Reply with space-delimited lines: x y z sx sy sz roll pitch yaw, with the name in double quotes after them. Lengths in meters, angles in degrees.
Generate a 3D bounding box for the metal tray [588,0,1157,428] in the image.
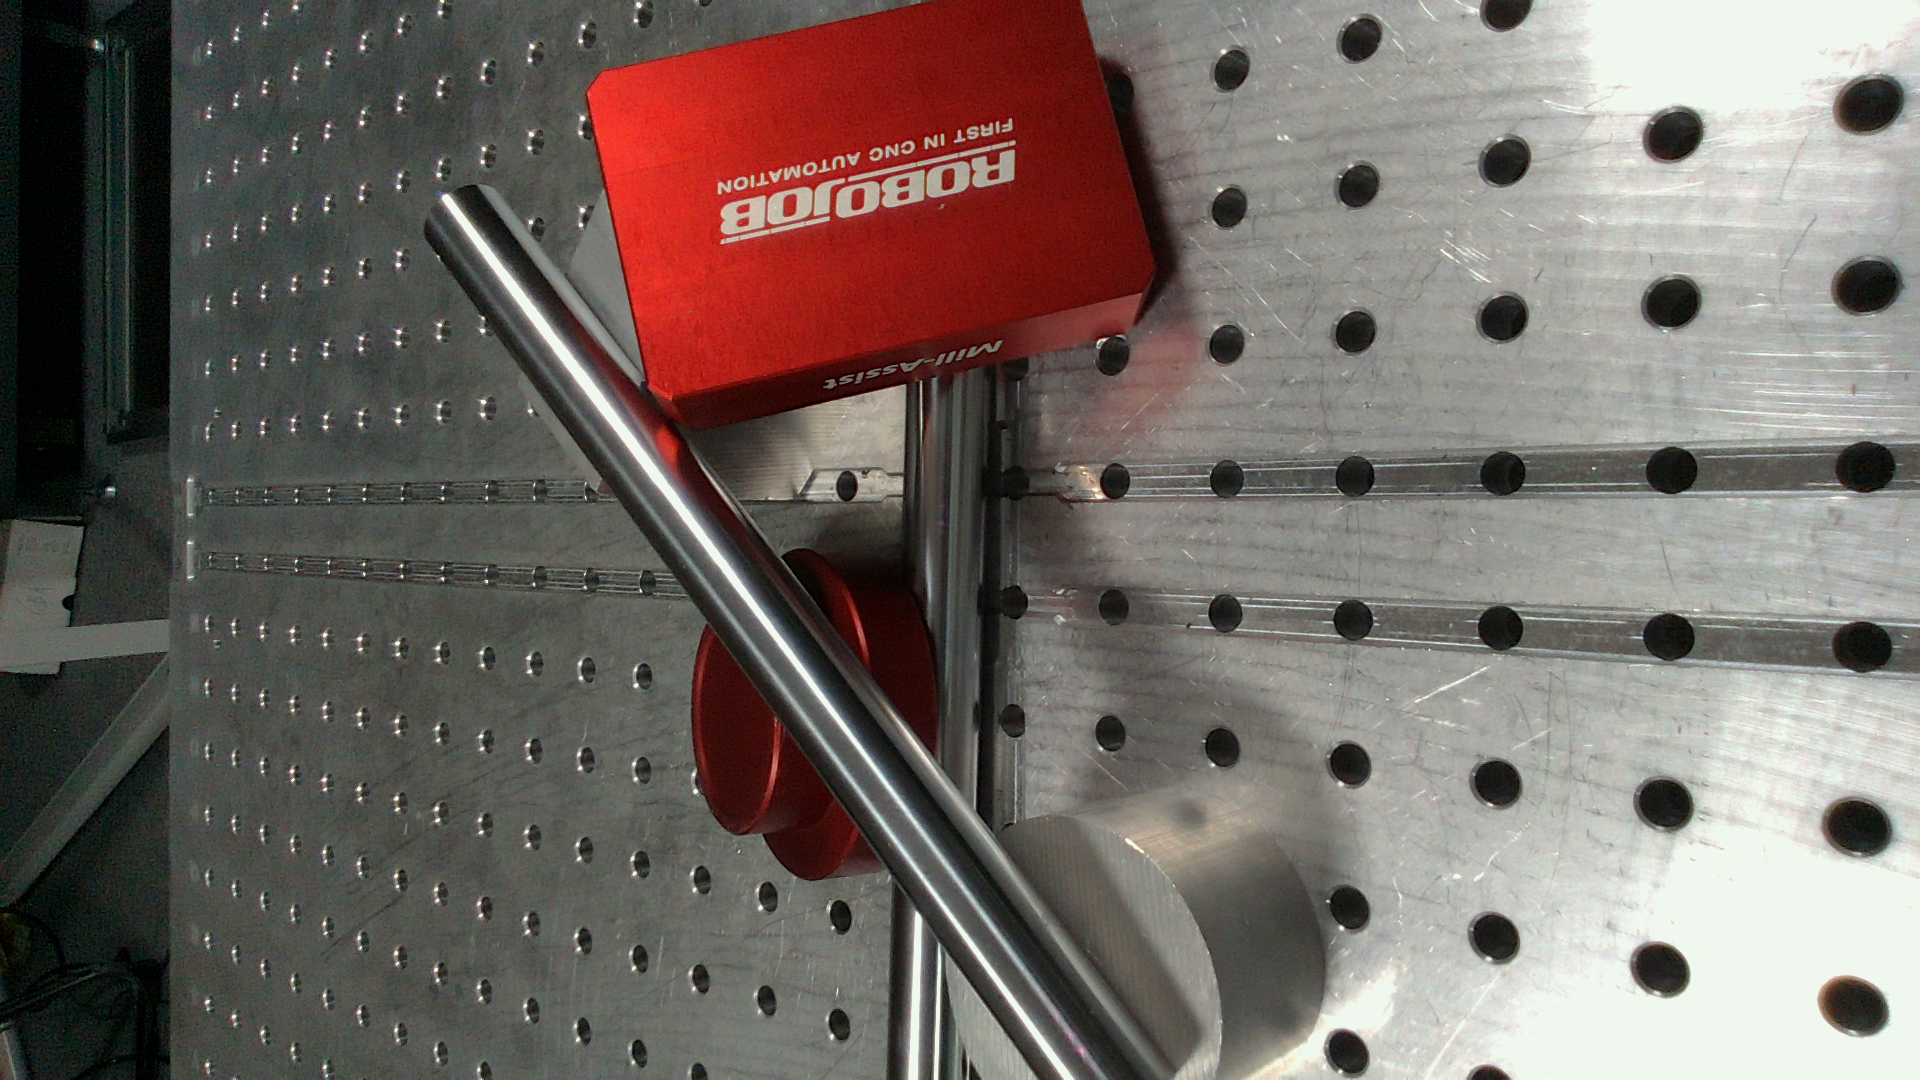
-0.023 -0.088 0.362 0.130 0.030 0.090 -13 78 -3 "metal tray"

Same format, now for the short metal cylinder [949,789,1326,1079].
0.044 0.106 0.346 0.080 0.050 0.080 0 90 40 "short metal cylinder"

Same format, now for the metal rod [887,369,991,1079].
-0.005 0.023 0.402 0.025 0.025 0.300 3 92 40 "metal rod"

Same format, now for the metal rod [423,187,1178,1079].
-0.053 0.016 0.350 0.300 0.025 0.025 50 120 19 "metal rod"

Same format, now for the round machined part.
-0.049 0.052 0.408 0.098 0.042 0.098 -1 89 57 "round machined part"

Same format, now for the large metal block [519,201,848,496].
-0.076 -0.061 0.427 0.050 0.080 0.080 49 119 29 "large metal block"
